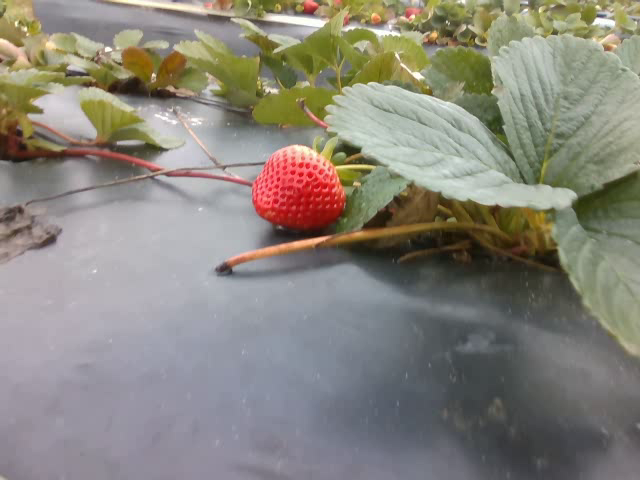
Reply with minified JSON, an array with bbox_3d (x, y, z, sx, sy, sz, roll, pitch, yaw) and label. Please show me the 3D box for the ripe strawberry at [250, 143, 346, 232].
[{"bbox_3d":[-0.019,-0.034,0.353,0.061,0.065,0.050,30,-26,22],"label":"ripe strawberry"}]
